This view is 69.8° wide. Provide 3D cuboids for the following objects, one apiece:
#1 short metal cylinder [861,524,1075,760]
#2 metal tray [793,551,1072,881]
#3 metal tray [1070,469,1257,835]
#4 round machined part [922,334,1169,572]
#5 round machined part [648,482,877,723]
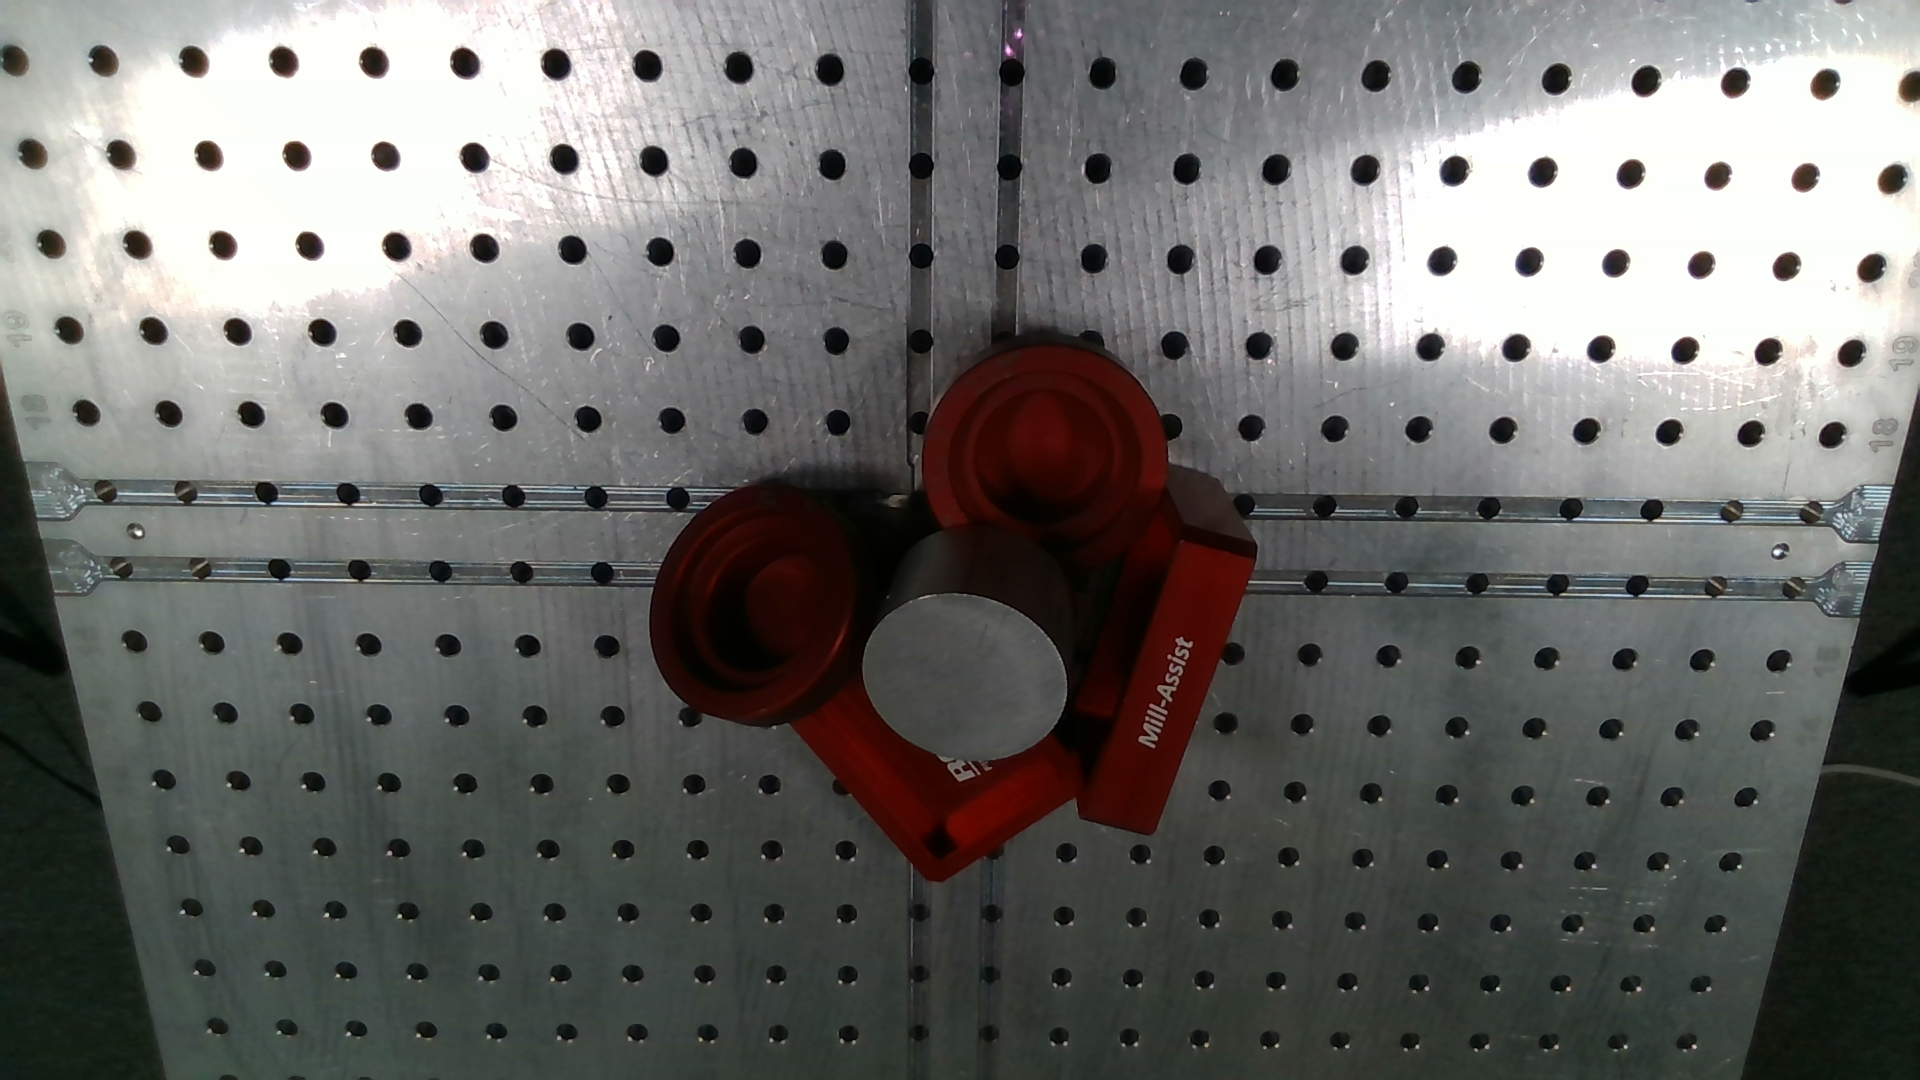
[{"bbox_3d":[0.005,0.041,0.549,0.080,0.050,0.080,5,122,7],"label":"short metal cylinder"},{"bbox_3d":[-0.015,0.079,0.613,0.090,0.030,0.130,-35,106,12],"label":"metal tray"},{"bbox_3d":[0.079,0.042,0.568,0.030,0.090,0.130,14,110,-5],"label":"metal tray"},{"bbox_3d":[0.034,-0.038,0.564,0.098,0.042,0.098,0,110,0],"label":"round machined part"},{"bbox_3d":[-0.077,0.029,0.570,0.098,0.042,0.098,-8,71,24],"label":"round machined part"}]
